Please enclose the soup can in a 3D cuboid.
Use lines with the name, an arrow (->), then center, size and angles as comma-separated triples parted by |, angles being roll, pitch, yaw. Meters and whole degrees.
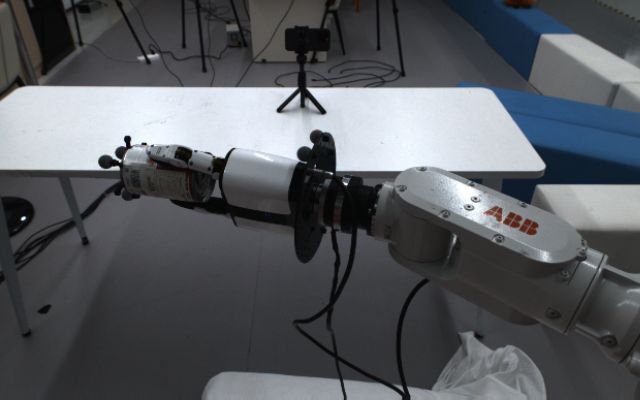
soup can -> -0.194, -0.034, 0.629 | 0.101, 0.067, 0.067 | 7, 35, 10
